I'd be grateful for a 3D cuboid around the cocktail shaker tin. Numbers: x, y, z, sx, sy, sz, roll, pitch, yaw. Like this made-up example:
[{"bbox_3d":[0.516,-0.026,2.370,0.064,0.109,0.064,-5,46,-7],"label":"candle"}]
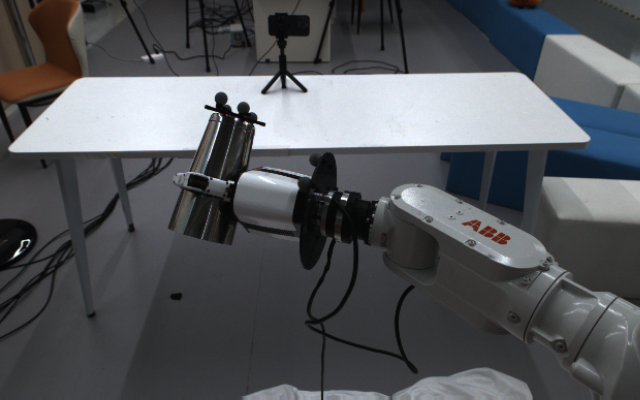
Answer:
[{"bbox_3d":[-0.145,-0.030,0.683,0.093,0.170,0.093,15,-4,1],"label":"cocktail shaker tin"}]
